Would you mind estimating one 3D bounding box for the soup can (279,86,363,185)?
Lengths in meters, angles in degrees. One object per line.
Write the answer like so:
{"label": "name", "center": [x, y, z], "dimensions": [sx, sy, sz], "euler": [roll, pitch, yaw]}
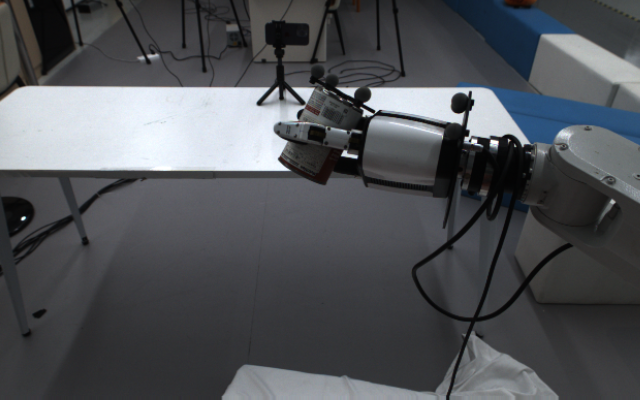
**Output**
{"label": "soup can", "center": [0.002, -0.079, 0.593], "dimensions": [0.067, 0.101, 0.067], "euler": [27, 10, -5]}
